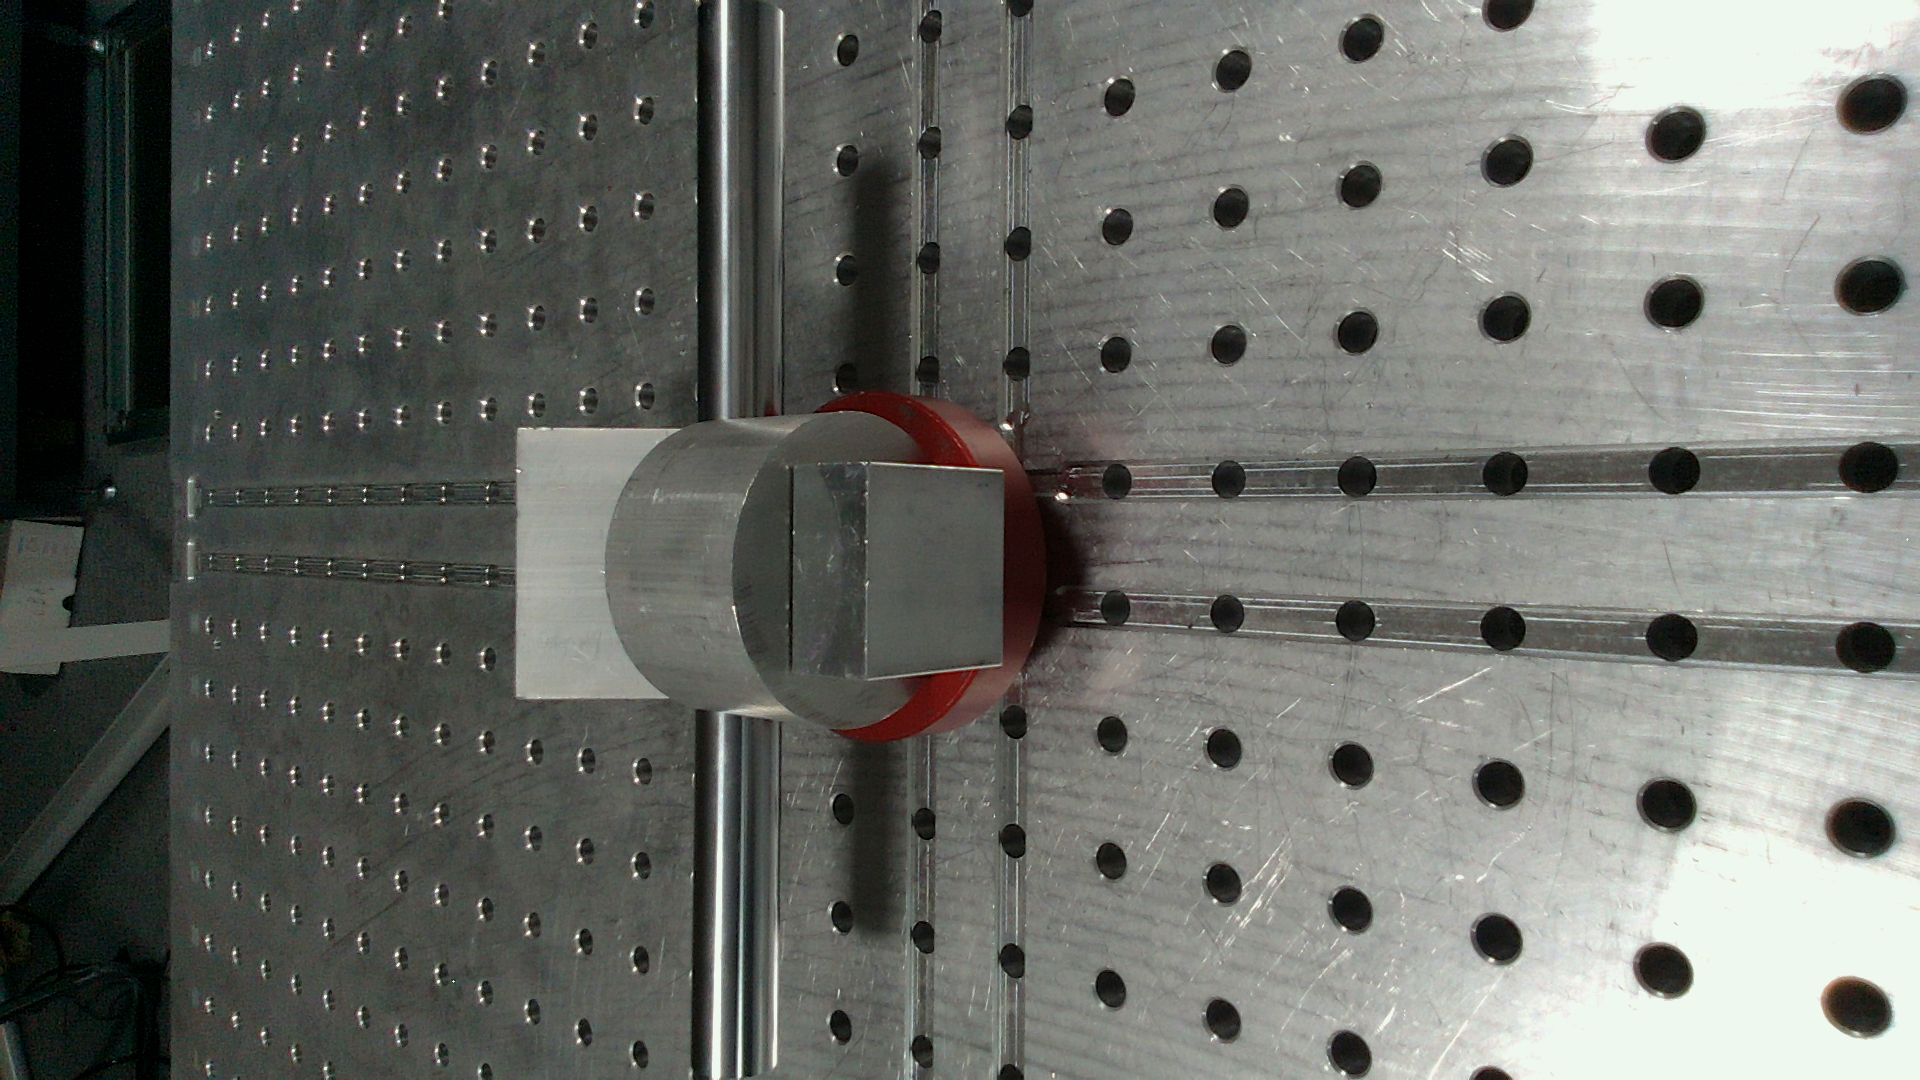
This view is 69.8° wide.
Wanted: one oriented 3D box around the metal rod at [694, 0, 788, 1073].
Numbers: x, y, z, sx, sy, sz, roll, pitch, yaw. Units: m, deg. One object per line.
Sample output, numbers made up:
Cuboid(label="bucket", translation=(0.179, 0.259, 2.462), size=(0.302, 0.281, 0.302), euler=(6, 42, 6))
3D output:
Cuboid(label="metal rod", translation=(-0.063, -0.001, 0.397), size=(0.025, 0.025, 0.300), euler=(1, 91, 40))

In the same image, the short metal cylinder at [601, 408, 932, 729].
Cuboid(label="short metal cylinder", translation=(-0.045, 0.007, 0.360), size=(0.050, 0.080, 0.080), euler=(1, 91, 40))

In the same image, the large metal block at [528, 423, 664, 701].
Cuboid(label="large metal block", translation=(-0.100, 0.006, 0.439), size=(0.050, 0.080, 0.080), euler=(1, 91, -1))

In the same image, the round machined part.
Cuboid(label="round machined part", translation=(-0.014, 0.007, 0.397), size=(0.098, 0.042, 0.098), euler=(0, 90, 40))

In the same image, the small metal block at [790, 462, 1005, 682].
Cuboid(label="small metal block", translation=(-0.015, 0.007, 0.338), size=(0.025, 0.050, 0.050), euler=(1, 91, 40))
